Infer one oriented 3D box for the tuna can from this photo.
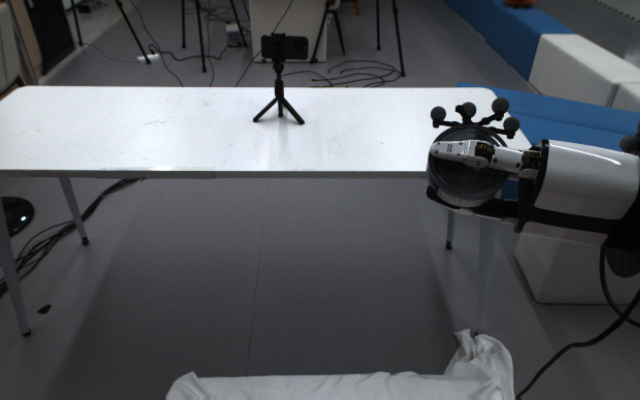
[{"bbox_3d":[0.161,-0.040,0.525,0.085,0.034,0.085,-2,70,6],"label":"tuna can"}]
